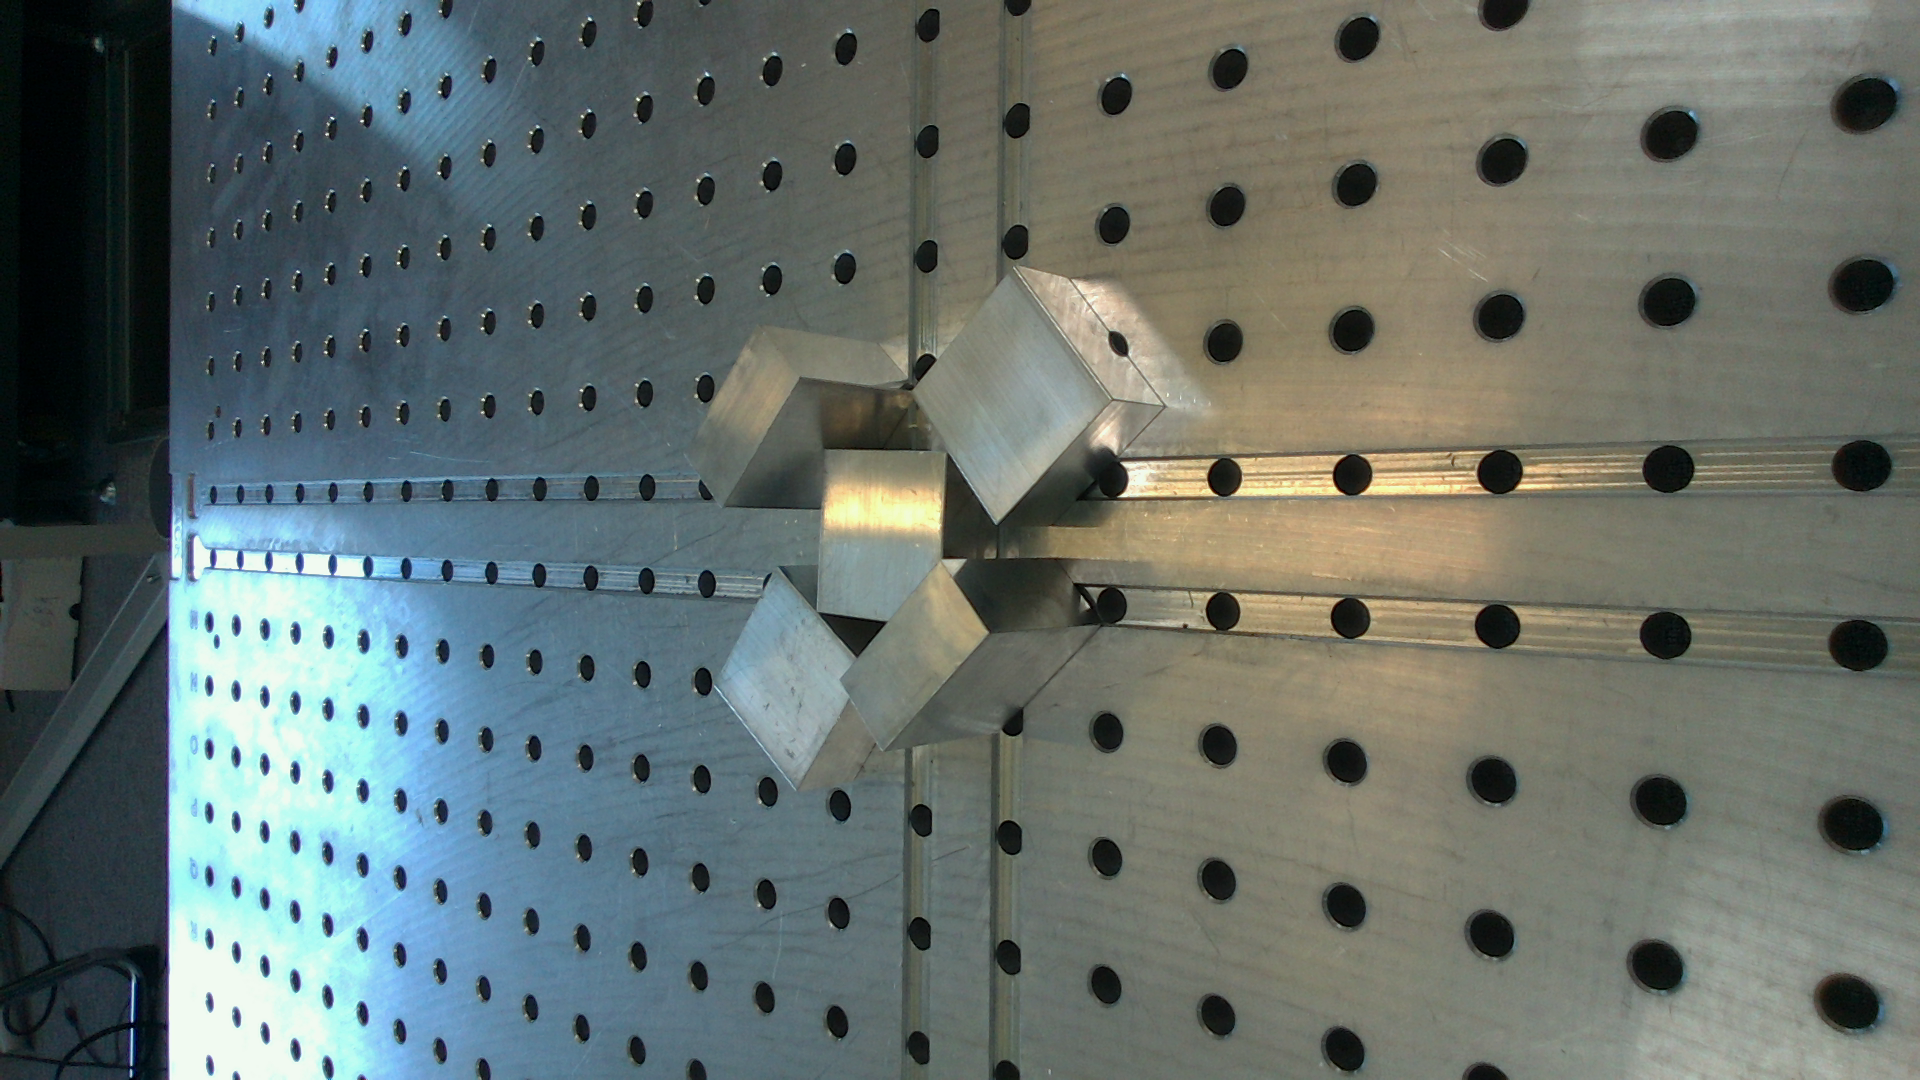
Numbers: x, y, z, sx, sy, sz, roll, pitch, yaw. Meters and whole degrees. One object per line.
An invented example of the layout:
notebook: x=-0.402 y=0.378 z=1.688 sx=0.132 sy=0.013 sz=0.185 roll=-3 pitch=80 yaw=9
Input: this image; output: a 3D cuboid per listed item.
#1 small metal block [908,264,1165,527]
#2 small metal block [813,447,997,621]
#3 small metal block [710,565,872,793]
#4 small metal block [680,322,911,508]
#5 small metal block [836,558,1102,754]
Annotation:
small metal block: x=0.020 y=-0.039 z=0.381 sx=0.050 sy=0.025 sz=0.050 roll=-48 pitch=62 yaw=30
small metal block: x=-0.016 y=-0.001 z=0.411 sx=0.050 sy=0.025 sz=0.050 roll=5 pitch=92 yaw=41
small metal block: x=-0.047 y=0.043 z=0.437 sx=0.050 sy=0.025 sz=0.050 roll=45 pitch=117 yaw=30
small metal block: x=-0.050 y=-0.037 z=0.423 sx=0.025 sy=0.050 sz=0.050 roll=51 pitch=121 yaw=27
small metal block: x=0.003 y=0.031 z=0.379 sx=0.050 sy=0.050 sz=0.025 roll=-50 pitch=60 yaw=28
